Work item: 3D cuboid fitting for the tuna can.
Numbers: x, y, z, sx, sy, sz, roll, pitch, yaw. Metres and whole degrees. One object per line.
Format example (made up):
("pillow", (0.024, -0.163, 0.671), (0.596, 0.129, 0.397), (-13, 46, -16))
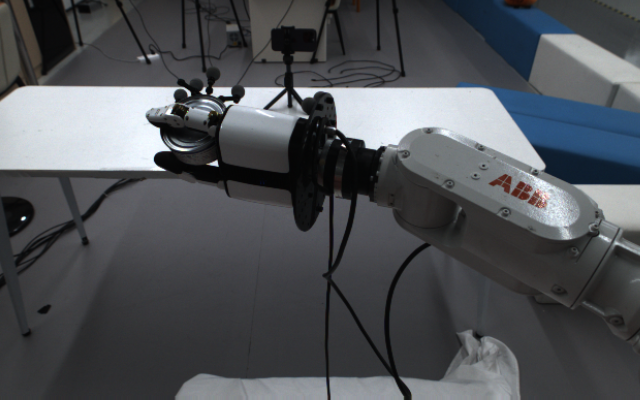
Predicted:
("tuna can", (-0.149, -0.086, 0.593), (0.085, 0.034, 0.085), (-6, 58, 10))
